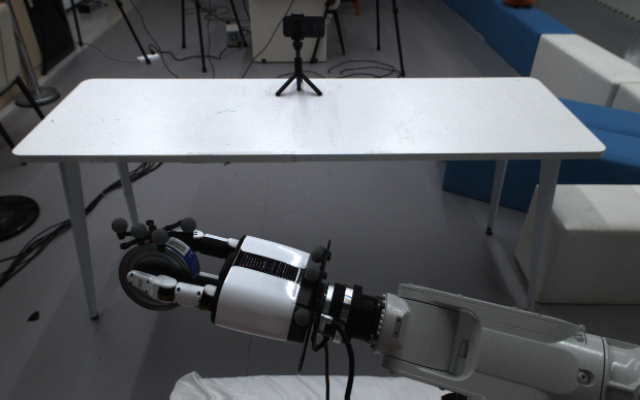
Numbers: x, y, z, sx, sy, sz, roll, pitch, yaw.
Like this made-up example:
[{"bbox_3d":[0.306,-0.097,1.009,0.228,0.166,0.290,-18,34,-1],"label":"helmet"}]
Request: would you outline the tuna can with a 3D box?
[{"bbox_3d":[-0.180,0.086,0.565,0.085,0.085,0.034,4,18,3],"label":"tuna can"}]
